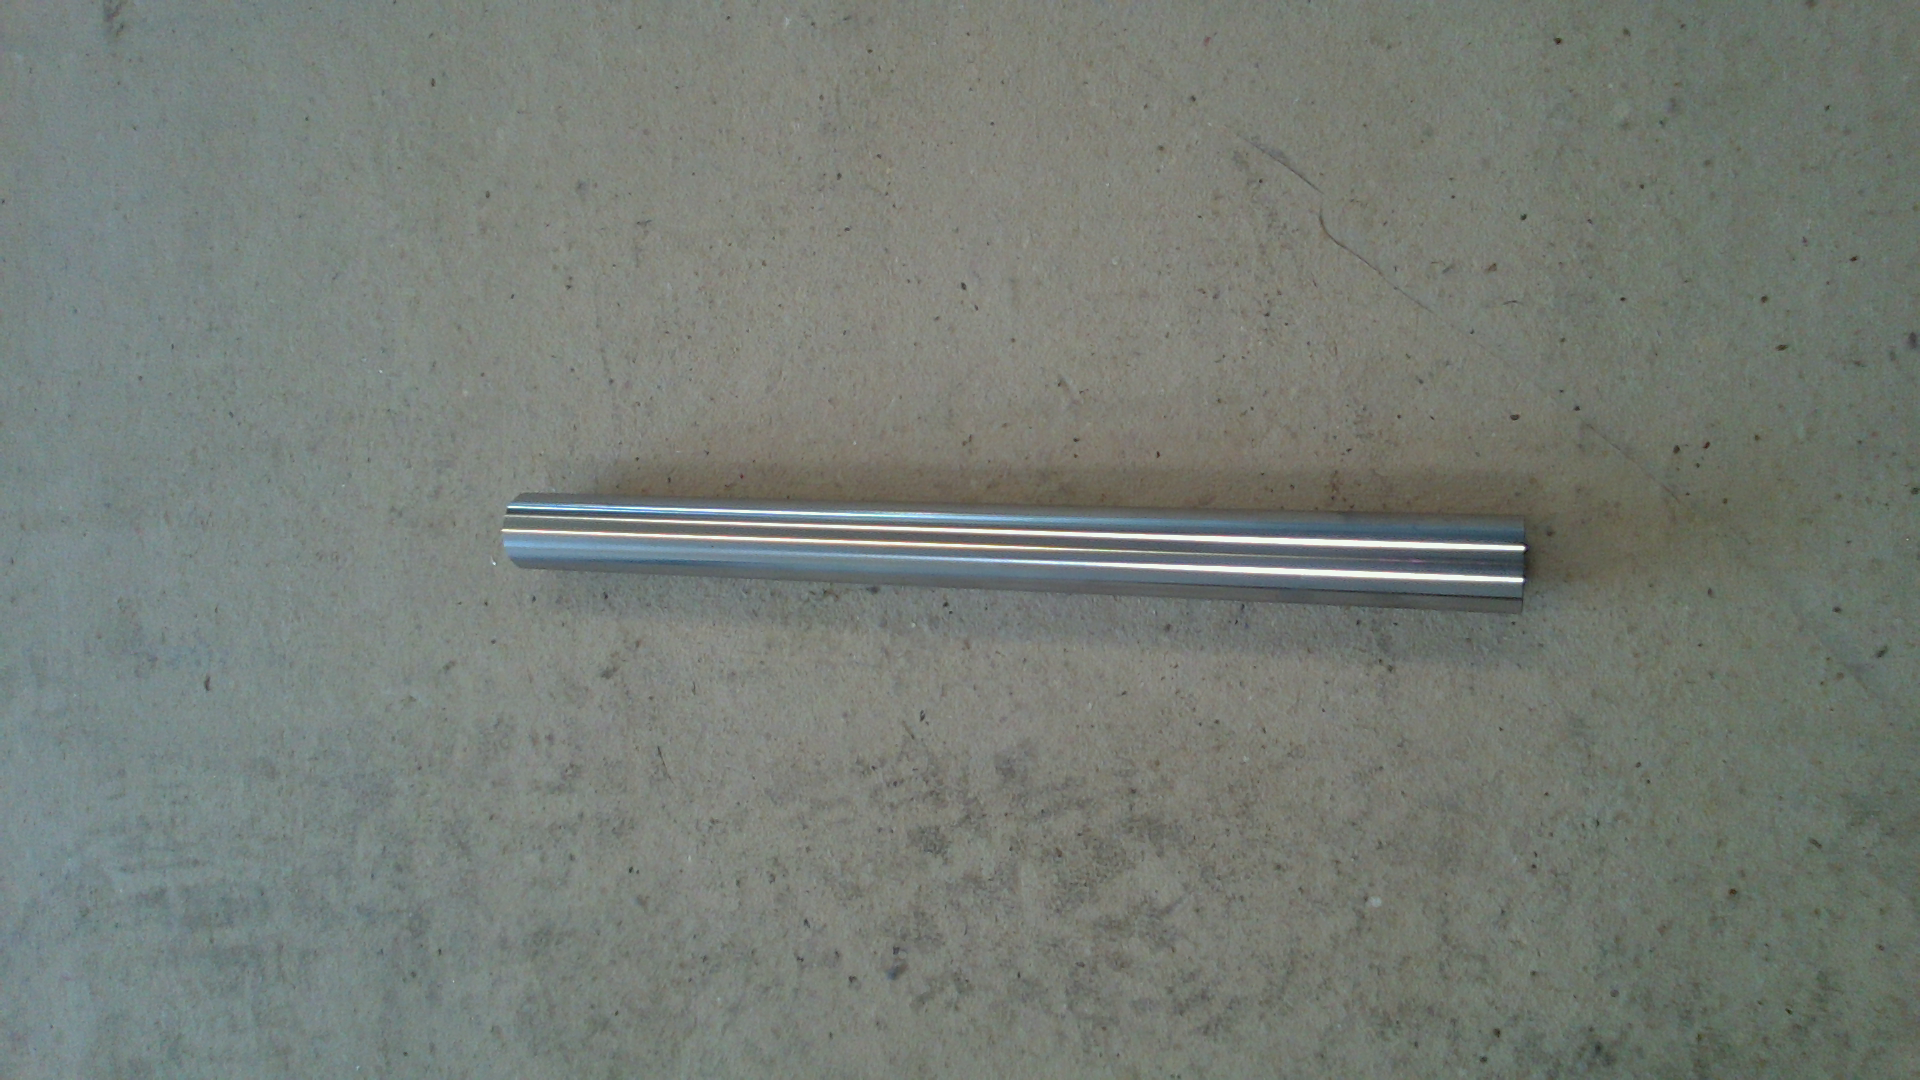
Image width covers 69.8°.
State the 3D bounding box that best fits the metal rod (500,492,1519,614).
[{"bbox_3d":[-0.001,0.001,0.396,0.299,0.025,0.025,2,91,20],"label":"metal rod"}]
